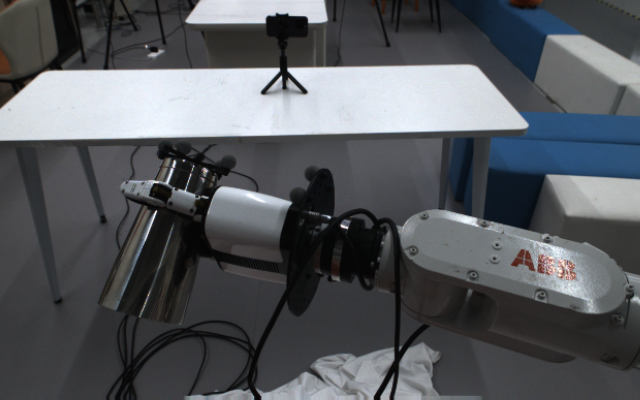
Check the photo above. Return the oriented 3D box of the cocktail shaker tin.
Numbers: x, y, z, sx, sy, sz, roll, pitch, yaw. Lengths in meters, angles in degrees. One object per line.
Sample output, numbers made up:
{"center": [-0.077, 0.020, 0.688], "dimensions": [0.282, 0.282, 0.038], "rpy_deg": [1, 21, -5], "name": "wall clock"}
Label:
{"center": [-0.170, 0.041, 0.543], "dimensions": [0.093, 0.093, 0.170], "rpy_deg": [13, 77, 15], "name": "cocktail shaker tin"}
